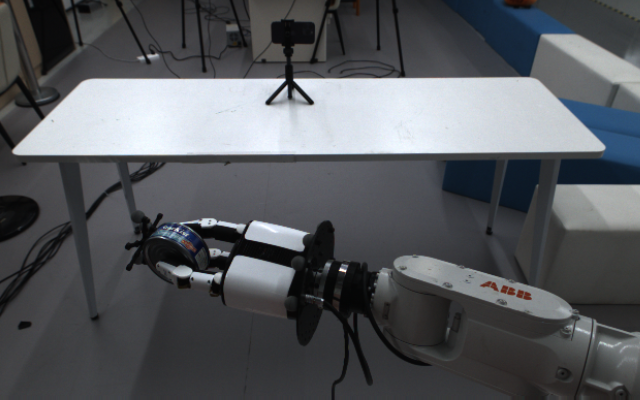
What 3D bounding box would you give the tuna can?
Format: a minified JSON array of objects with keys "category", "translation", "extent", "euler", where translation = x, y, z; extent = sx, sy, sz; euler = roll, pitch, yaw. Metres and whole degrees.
[{"category":"tuna can","translation":[-0.192,0.071,0.654],"extent":[0.085,0.085,0.034],"euler":[10,36,11]}]
